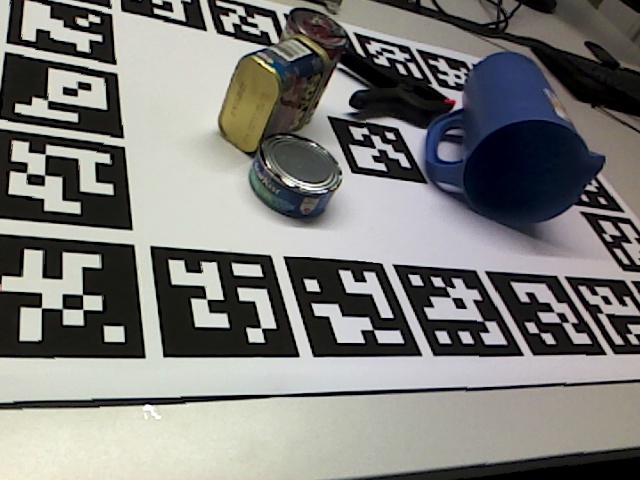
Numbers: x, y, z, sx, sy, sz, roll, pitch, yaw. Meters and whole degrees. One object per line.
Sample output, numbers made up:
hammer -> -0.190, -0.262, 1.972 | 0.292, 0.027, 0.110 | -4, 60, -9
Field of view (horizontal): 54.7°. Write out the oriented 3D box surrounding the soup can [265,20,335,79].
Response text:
soup can -> -0.034, -0.180, 0.686 | 0.067, 0.102, 0.068 | 14, 45, -15

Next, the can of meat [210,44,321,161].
can of meat -> -0.056, -0.136, 0.619 | 0.058, 0.102, 0.083 | 43, 45, 13

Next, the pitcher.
pitcher -> 0.226, -0.134, 0.760 | 0.189, 0.133, 0.243 | 4, 35, 3

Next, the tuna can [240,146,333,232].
tuna can -> -0.033, -0.050, 0.600 | 0.085, 0.034, 0.086 | 16, 44, -16

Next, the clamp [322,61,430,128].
clamp -> 0.074, -0.185, 0.818 | 0.164, 0.036, 0.122 | 9, 40, -28
